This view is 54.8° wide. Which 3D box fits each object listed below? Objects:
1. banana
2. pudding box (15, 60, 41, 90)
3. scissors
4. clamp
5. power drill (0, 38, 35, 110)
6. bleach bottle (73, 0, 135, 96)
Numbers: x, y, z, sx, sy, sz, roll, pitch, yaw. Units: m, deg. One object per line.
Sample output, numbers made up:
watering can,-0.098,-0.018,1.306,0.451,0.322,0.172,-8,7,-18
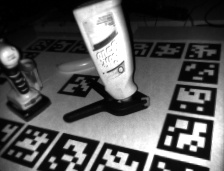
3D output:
banana,-0.105,-0.104,0.747,0.198,0.039,0.073,-19,22,-7
pudding box,-0.290,-0.038,0.687,0.112,0.090,0.039,11,38,26
scissors,-0.307,-0.093,0.654,0.088,0.016,0.200,-39,50,-23
clamp,-0.011,0.019,0.558,0.201,0.037,0.165,4,44,18
power drill,-0.285,-0.036,0.559,0.182,0.188,0.058,16,41,35
bleach bottle,0.007,-0.067,0.488,0.102,0.253,0.067,-12,34,15
